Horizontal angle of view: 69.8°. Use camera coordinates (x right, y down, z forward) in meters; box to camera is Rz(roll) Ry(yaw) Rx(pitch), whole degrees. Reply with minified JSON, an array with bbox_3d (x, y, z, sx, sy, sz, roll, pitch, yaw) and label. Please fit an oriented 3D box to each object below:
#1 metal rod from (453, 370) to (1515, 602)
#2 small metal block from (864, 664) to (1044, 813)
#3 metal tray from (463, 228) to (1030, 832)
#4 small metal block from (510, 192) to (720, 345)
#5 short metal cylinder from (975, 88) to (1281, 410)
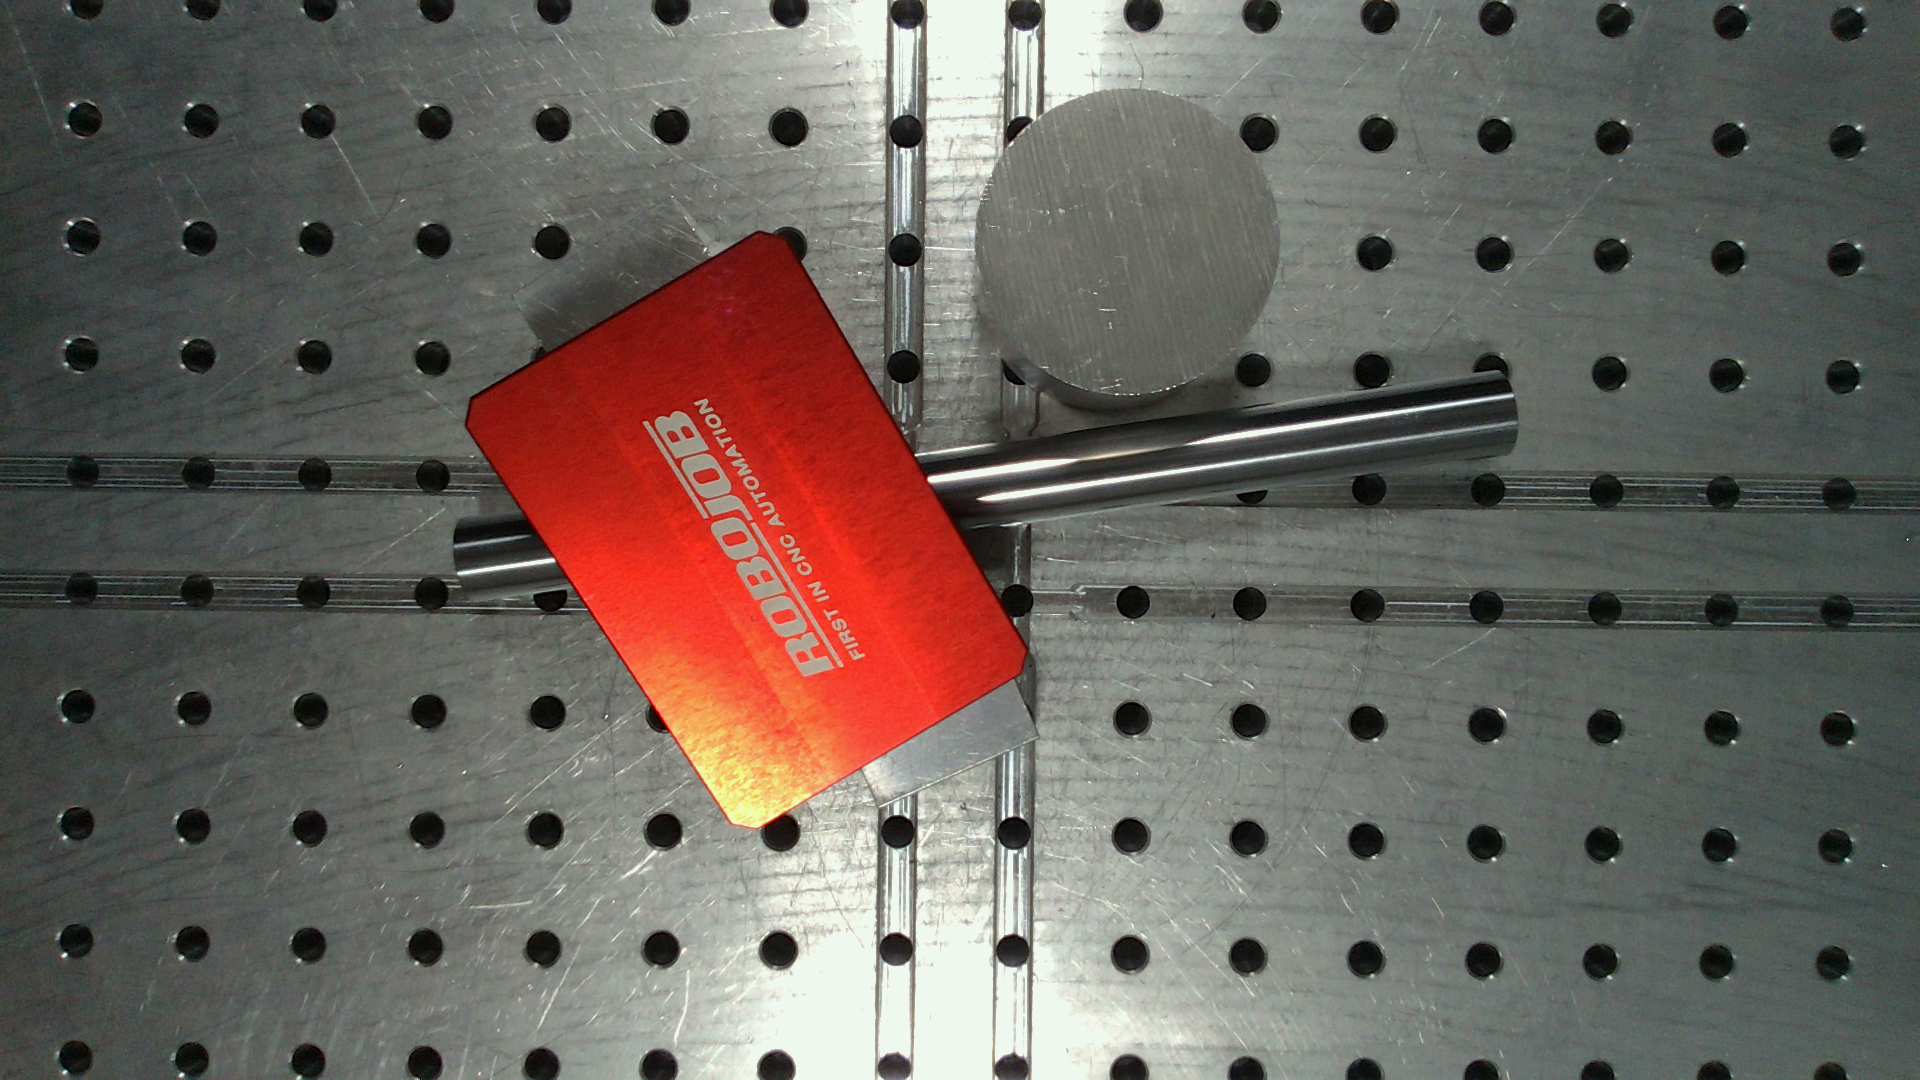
[{"bbox_3d":[0.007,-0.016,0.398,0.300,0.025,0.025,-8,90,0],"label":"metal rod"},{"bbox_3d":[-0.009,0.043,0.397,0.050,0.025,0.050,-24,90,0],"label":"small metal block"},{"bbox_3d":[-0.052,-0.002,0.356,0.090,0.030,0.130,-31,101,1],"label":"metal tray"},{"bbox_3d":[-0.089,-0.067,0.384,0.050,0.050,0.025,-32,90,0],"label":"small metal block"},{"bbox_3d":[0.044,-0.078,0.384,0.080,0.050,0.080,0,90,0],"label":"short metal cylinder"}]
